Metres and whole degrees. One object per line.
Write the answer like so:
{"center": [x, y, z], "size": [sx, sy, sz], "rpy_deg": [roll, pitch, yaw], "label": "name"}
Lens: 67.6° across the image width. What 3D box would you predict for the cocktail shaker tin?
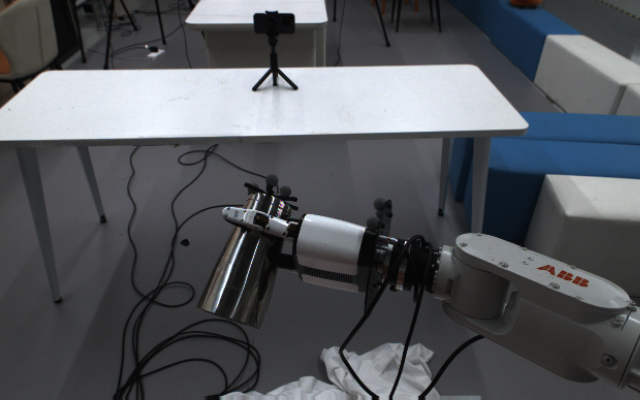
{"center": [-0.096, 0.077, 0.665], "size": [0.093, 0.093, 0.170], "rpy_deg": [13, 71, 16], "label": "cocktail shaker tin"}
